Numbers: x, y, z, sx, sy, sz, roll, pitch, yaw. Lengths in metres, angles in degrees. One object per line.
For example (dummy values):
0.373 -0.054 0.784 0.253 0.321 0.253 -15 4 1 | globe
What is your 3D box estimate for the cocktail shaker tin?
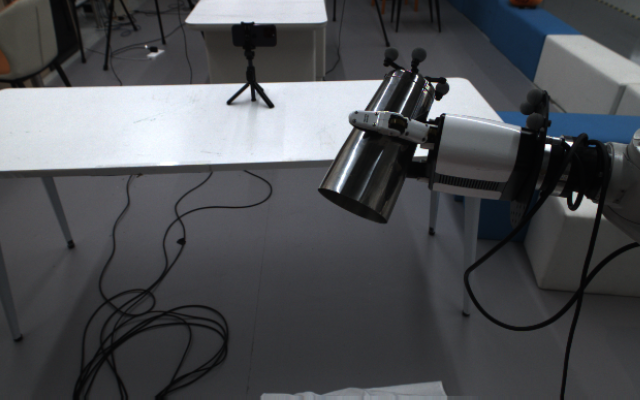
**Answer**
0.078 -0.071 0.586 0.093 0.093 0.170 21 81 25 | cocktail shaker tin
